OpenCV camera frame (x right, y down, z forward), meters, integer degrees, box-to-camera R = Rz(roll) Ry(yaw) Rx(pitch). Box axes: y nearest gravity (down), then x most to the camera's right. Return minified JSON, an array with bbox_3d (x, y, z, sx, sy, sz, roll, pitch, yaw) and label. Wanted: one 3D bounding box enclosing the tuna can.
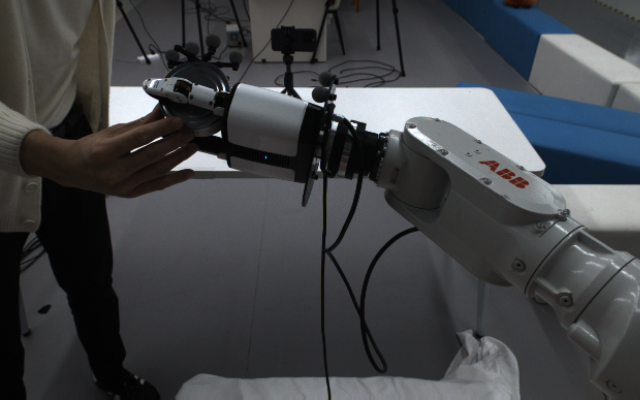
[{"bbox_3d":[-0.144,-0.119,0.582,0.085,0.034,0.085,-1,75,3],"label":"tuna can"}]
